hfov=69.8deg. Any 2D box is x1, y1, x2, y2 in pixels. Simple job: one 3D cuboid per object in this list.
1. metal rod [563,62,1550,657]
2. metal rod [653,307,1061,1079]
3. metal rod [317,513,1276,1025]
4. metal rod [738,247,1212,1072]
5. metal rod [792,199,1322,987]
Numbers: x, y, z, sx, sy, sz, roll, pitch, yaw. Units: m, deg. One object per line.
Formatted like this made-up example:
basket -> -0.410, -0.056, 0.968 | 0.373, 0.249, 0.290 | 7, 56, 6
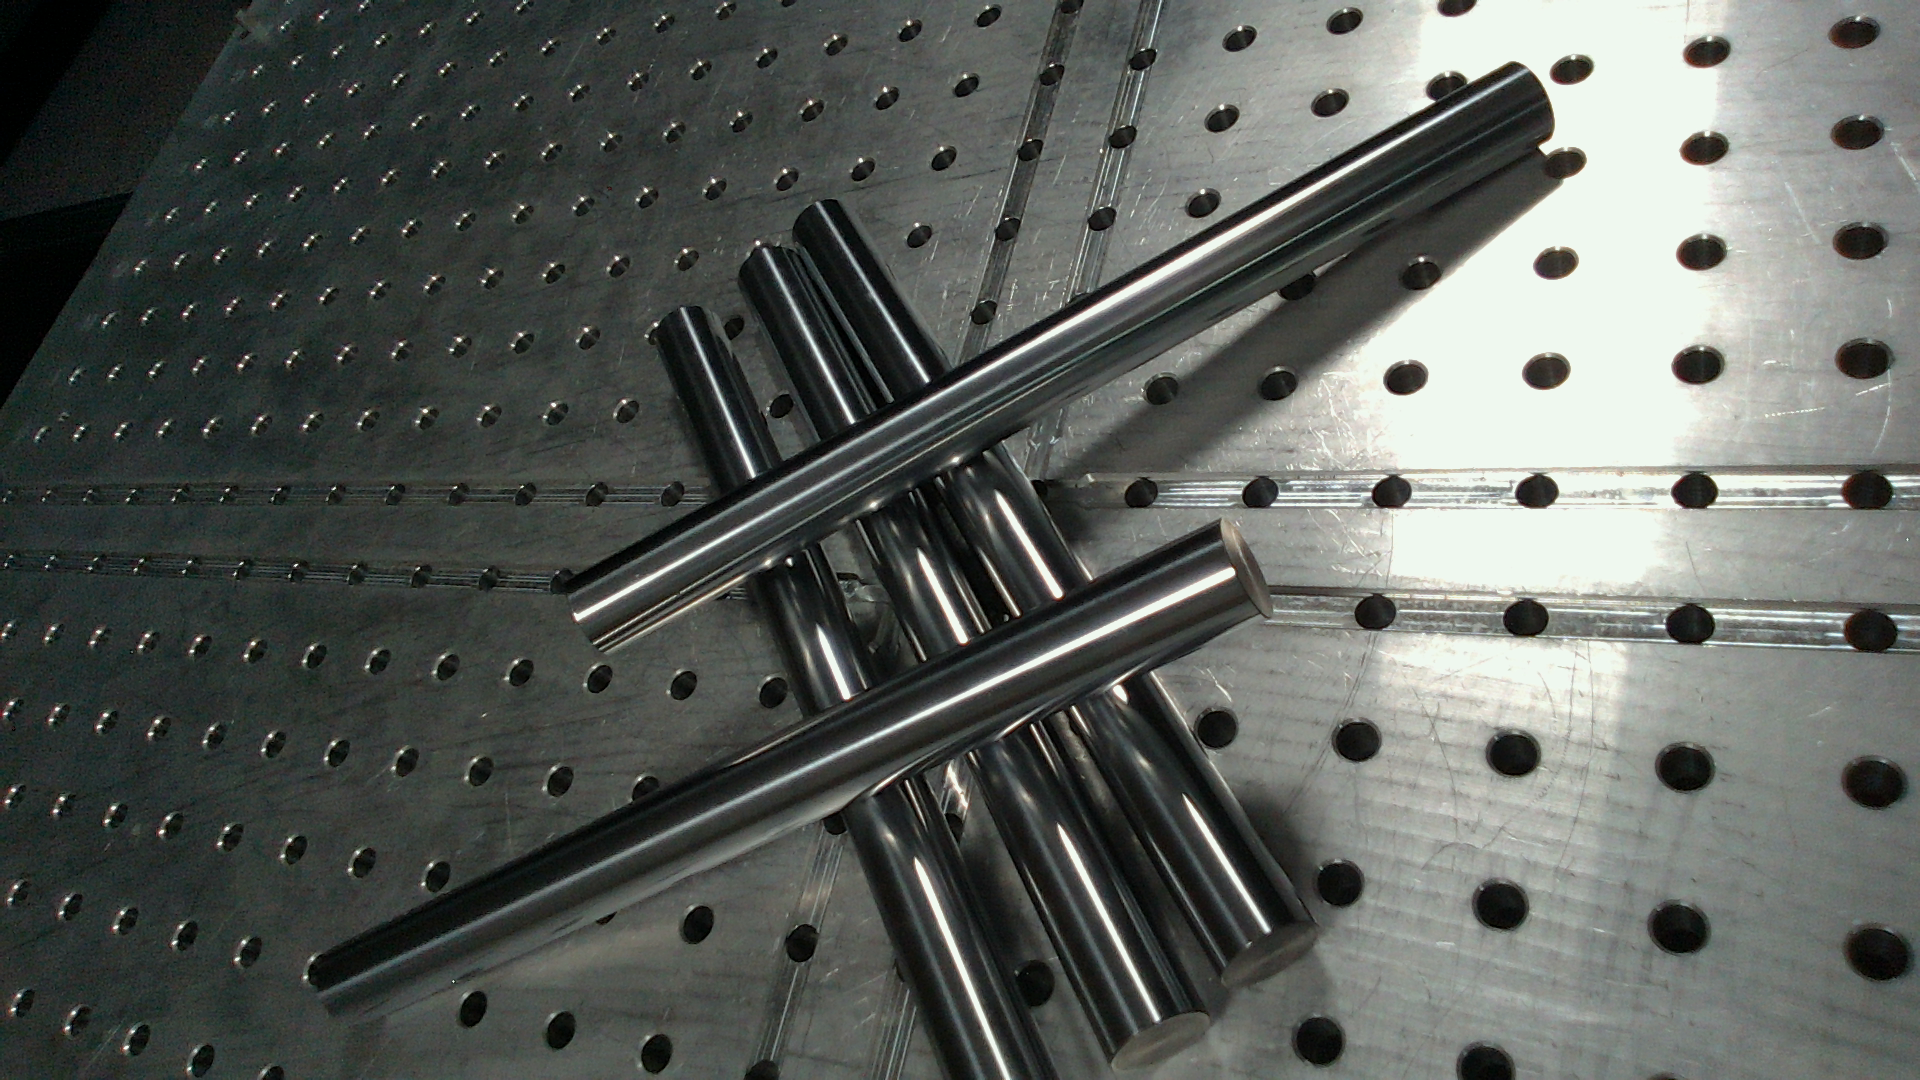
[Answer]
metal rod -> 0.027, -0.050, 0.387 | 0.300, 0.025, 0.025 | -29, 51, 0
metal rod -> -0.042, 0.029, 0.401 | 0.025, 0.025, 0.299 | -34, 51, 6
metal rod -> -0.060, 0.069, 0.359 | 0.299, 0.025, 0.025 | -27, 51, 22
metal rod -> -0.012, 0.008, 0.398 | 0.025, 0.025, 0.299 | -34, 51, 6
metal rod -> 0.010, -0.010, 0.397 | 0.025, 0.025, 0.299 | -35, 51, 6
